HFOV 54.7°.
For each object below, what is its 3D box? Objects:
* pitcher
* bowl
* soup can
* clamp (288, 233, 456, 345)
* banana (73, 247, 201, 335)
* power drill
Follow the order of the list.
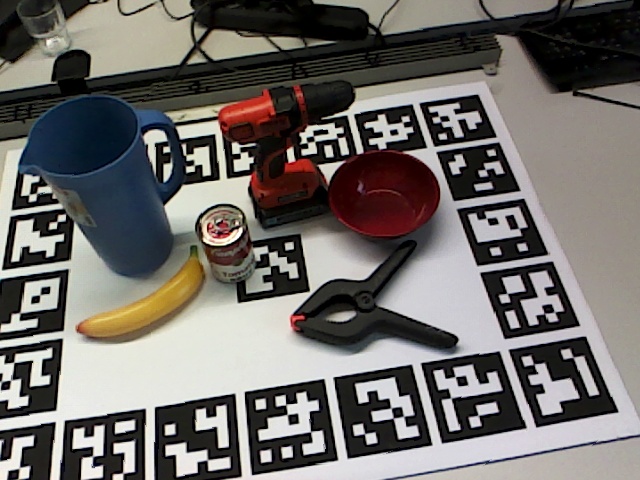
[{"bbox_3d":[-0.263,-0.069,0.830,0.188,0.241,0.134,-31,56,-16],"label":"pitcher"},{"bbox_3d":[0.088,-0.060,0.907,0.162,0.055,0.162,-2,57,3],"label":"bowl"},{"bbox_3d":[-0.129,0.000,0.858,0.068,0.101,0.068,-4,47,4],"label":"soup can"},{"bbox_3d":[0.057,0.081,0.817,0.202,0.036,0.166,-12,60,-4],"label":"clamp"},{"bbox_3d":[-0.240,0.081,0.852,0.197,0.038,0.075,-31,51,-18],"label":"banana"},{"bbox_3d":[-0.034,-0.134,0.866,0.184,0.186,0.057,-14,56,-6],"label":"power drill"}]
